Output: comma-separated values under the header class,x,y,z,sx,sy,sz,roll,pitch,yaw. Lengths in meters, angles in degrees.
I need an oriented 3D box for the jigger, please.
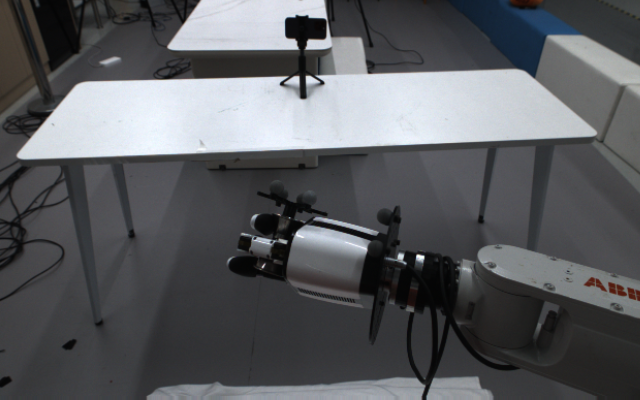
class,x,y,z,sx,sy,sz,roll,pitch,yaw
jigger,-0.048,0.053,0.578,0.043,0.071,0.043,19,-6,2
